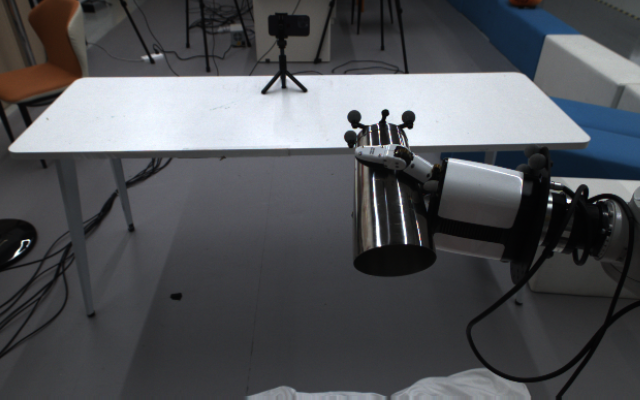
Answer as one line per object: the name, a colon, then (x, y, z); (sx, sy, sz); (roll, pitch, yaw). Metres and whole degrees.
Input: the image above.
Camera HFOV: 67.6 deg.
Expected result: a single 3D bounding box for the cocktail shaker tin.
cocktail shaker tin: (0.080, -0.006, 0.573); (0.093, 0.093, 0.170); (0, 59, -3)
